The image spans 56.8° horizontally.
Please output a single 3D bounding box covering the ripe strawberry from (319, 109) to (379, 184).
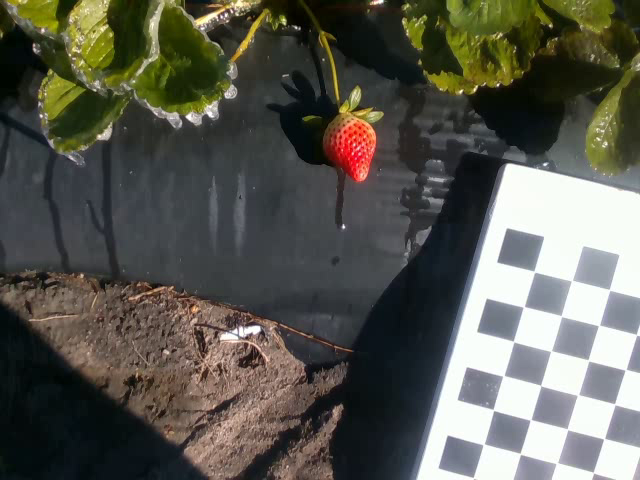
[{"bbox_3d":[0.022,-0.057,0.374,0.039,0.053,0.041,-7,-13,3],"label":"ripe strawberry"}]
